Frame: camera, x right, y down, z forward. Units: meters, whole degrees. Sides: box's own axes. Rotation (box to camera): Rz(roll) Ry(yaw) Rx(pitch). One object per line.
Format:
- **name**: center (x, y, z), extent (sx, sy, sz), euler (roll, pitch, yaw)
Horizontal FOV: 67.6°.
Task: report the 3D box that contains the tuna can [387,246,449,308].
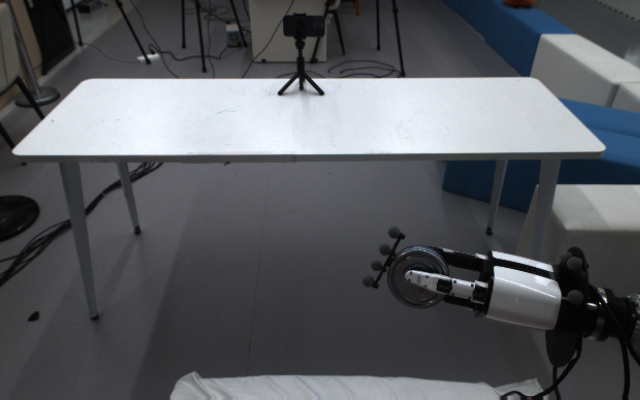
- **tuna can**: center (0.141, 0.105, 0.678), extent (0.085, 0.085, 0.034), euler (9, 4, 10)
